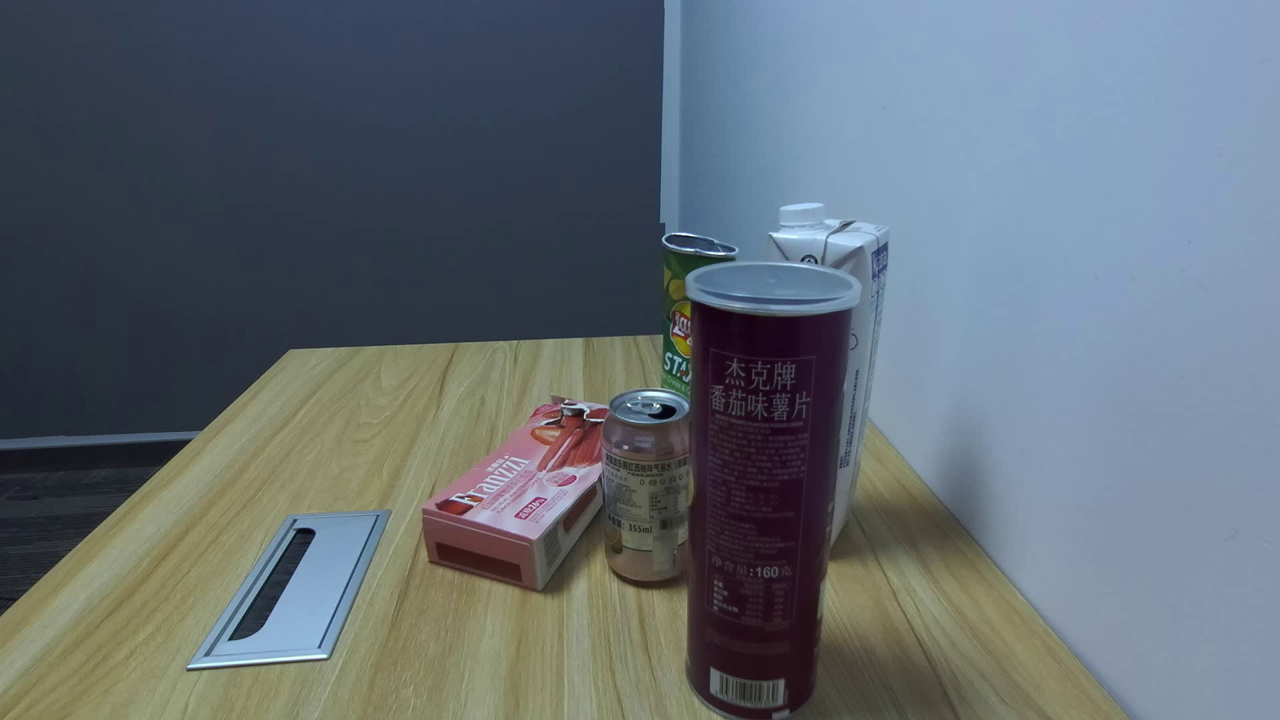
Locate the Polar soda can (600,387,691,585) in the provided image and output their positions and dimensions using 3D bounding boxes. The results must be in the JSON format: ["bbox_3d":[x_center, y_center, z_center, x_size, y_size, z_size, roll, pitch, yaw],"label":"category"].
[{"bbox_3d":[0.008,0.087,0.491,0.067,0.125,0.067,-1,21,1],"label":"Polar soda can"}]

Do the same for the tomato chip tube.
[{"bbox_3d":[0.062,0.073,0.368,0.078,0.234,0.078,-1,22,1],"label":"tomato chip tube"}]

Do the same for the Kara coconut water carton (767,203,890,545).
[{"bbox_3d":[0.124,0.013,0.503,0.075,0.245,0.077,13,27,28],"label":"Kara coconut water carton"}]

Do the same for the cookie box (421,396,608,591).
[{"bbox_3d":[-0.075,0.094,0.562,0.104,0.059,0.186,4,23,22],"label":"cookie box"}]
